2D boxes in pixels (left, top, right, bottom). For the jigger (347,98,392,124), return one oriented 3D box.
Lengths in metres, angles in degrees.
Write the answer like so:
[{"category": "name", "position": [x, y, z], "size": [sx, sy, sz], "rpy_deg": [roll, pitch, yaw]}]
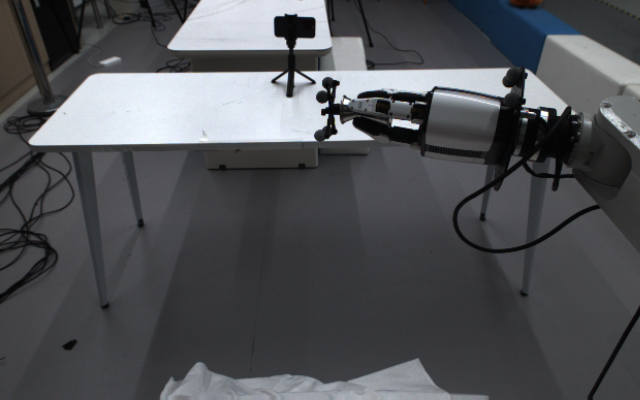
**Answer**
[{"category": "jigger", "position": [0.071, -0.127, 0.671], "size": [0.071, 0.043, 0.043], "rpy_deg": [5, 34, 14]}]
